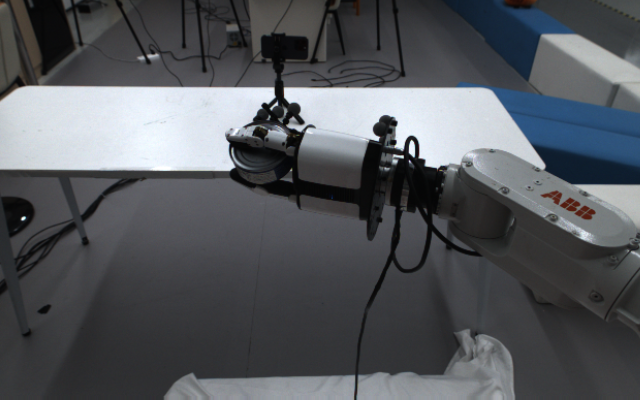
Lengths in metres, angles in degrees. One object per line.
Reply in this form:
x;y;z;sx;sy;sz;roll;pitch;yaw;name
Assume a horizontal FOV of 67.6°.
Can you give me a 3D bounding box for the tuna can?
-0.076;-0.066;0.652;0.085;0.034;0.085;-4;56;6;tuna can
